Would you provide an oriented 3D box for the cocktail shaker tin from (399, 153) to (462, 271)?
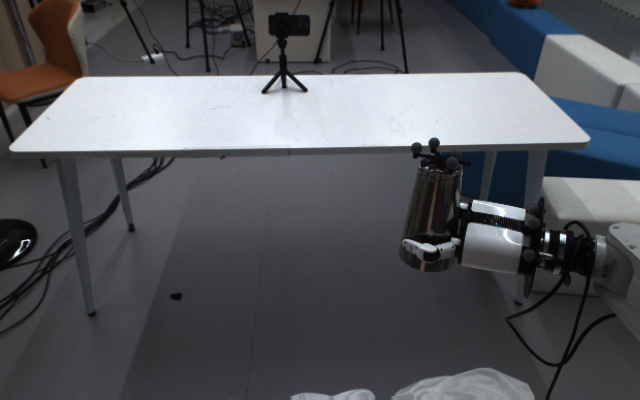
[{"bbox_3d":[0.183,0.019,0.778,0.093,0.170,0.093,1,28,-1],"label":"cocktail shaker tin"}]
